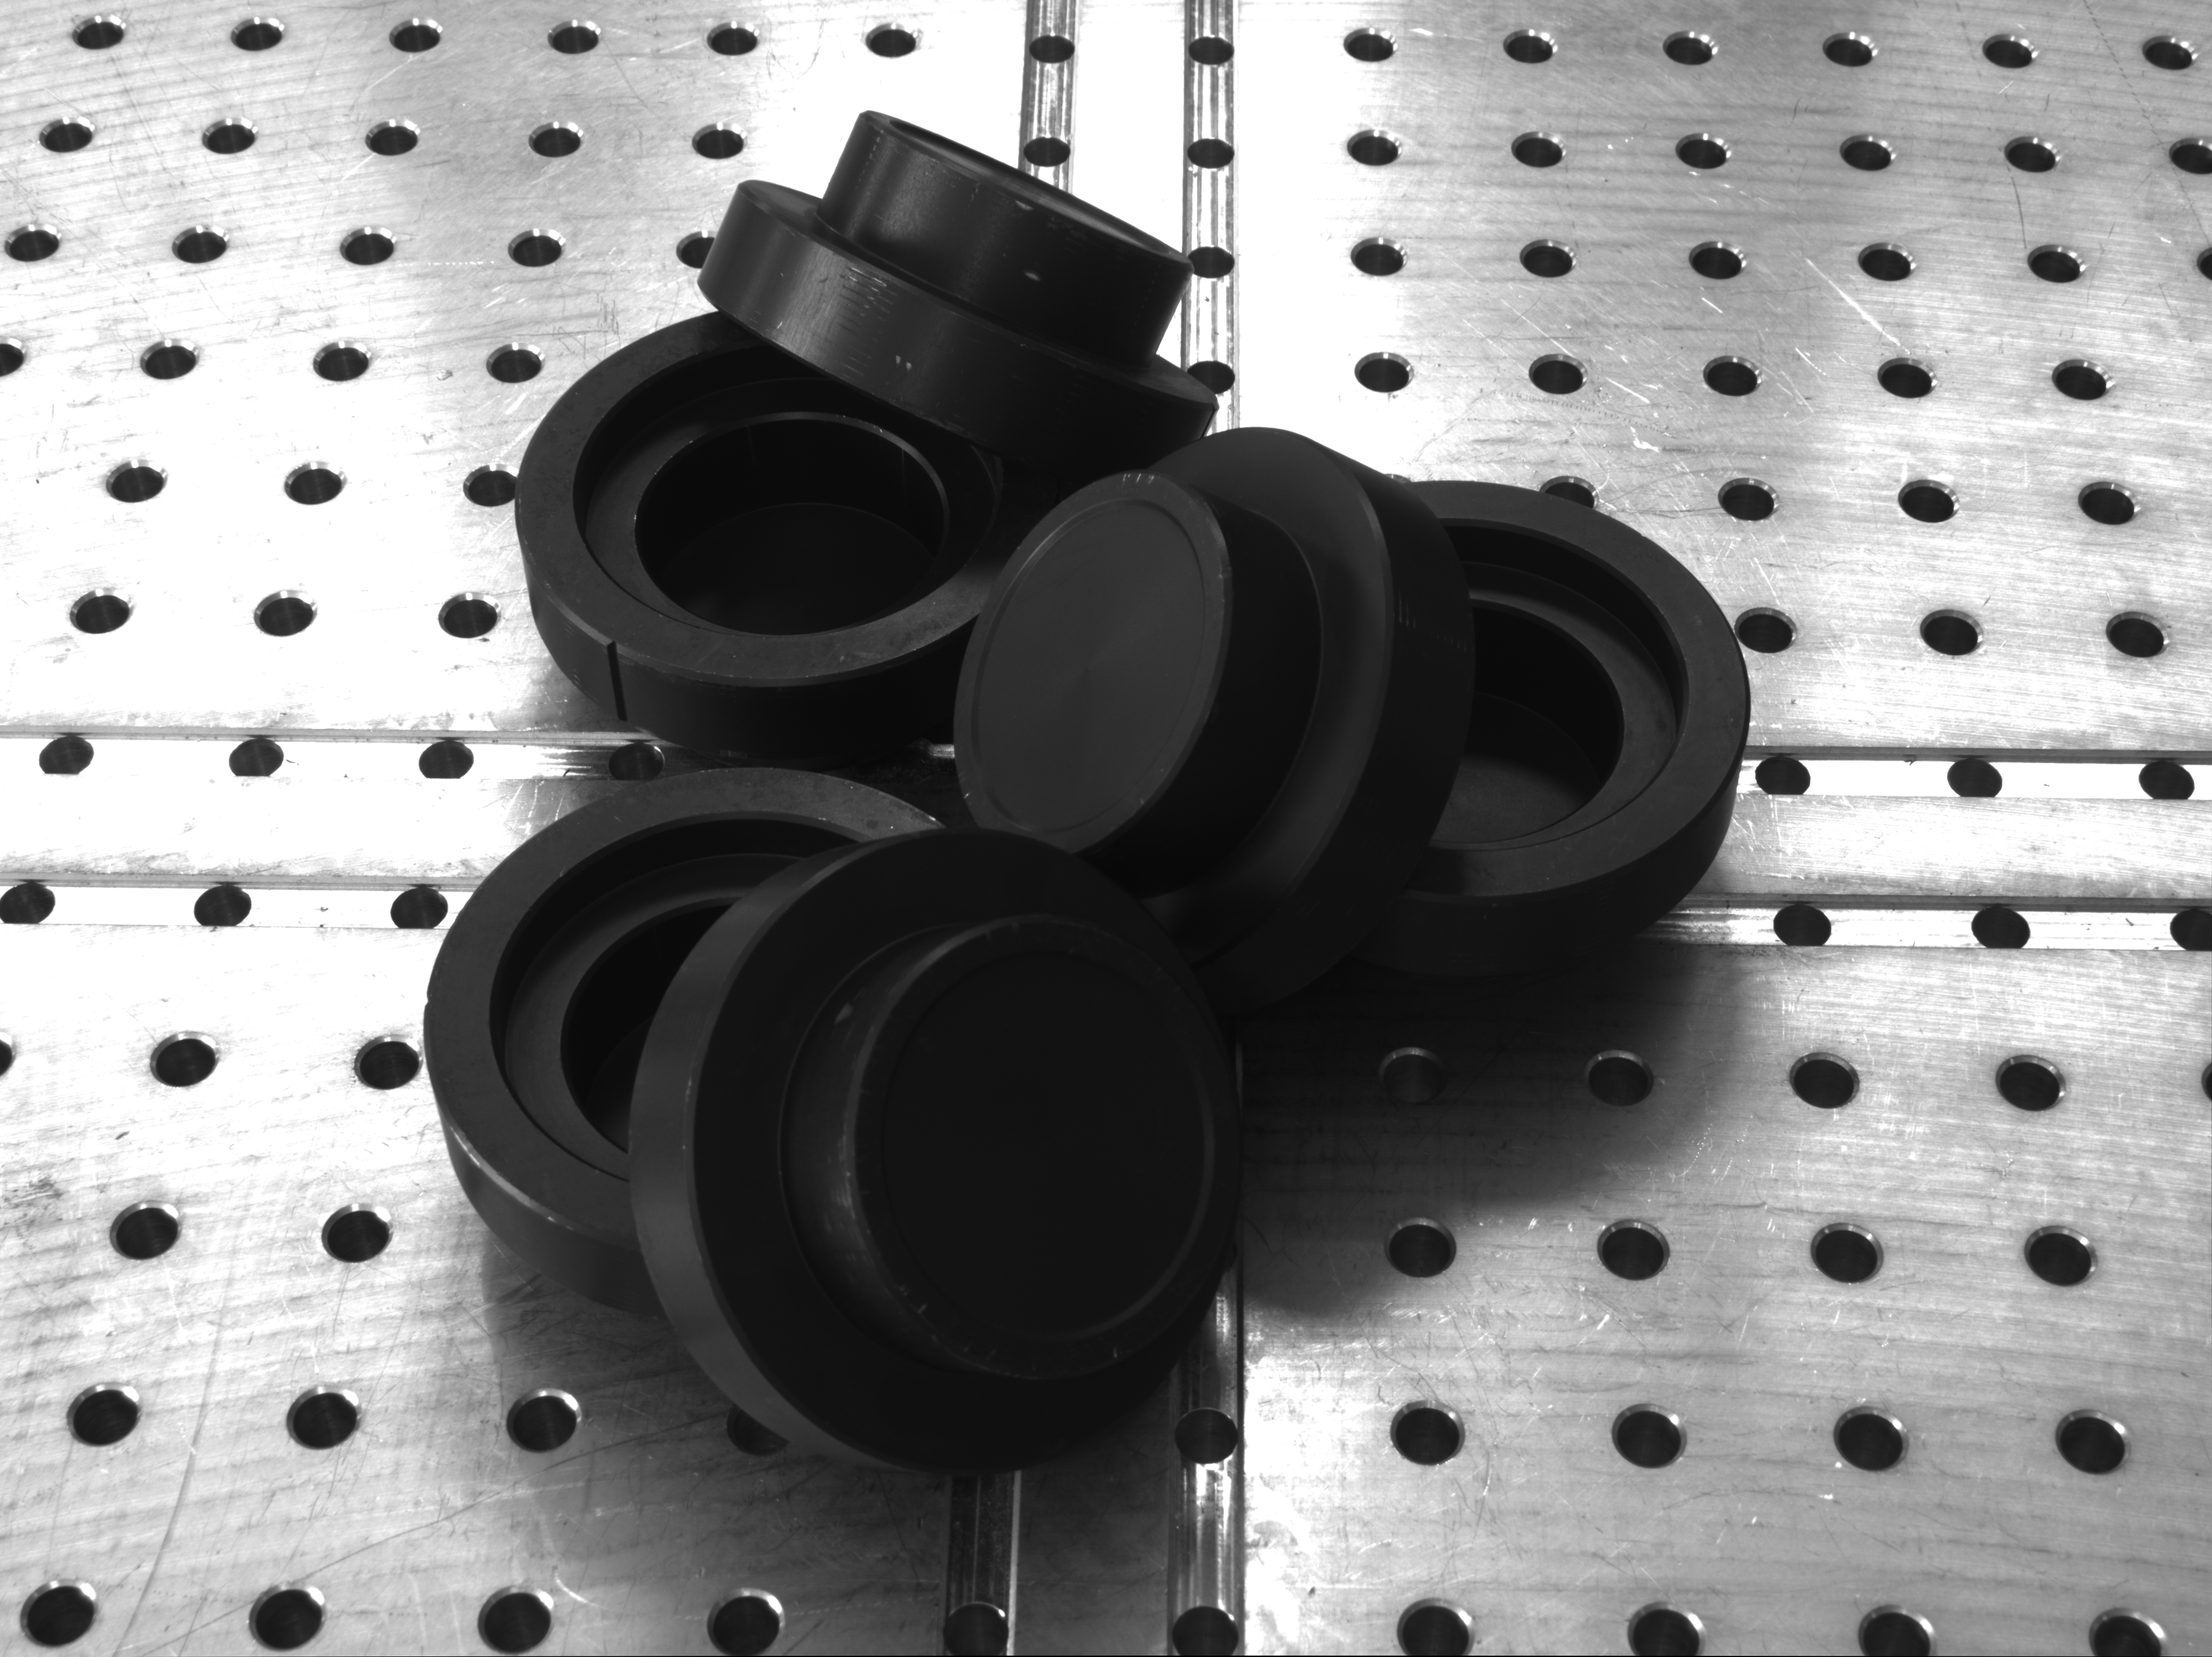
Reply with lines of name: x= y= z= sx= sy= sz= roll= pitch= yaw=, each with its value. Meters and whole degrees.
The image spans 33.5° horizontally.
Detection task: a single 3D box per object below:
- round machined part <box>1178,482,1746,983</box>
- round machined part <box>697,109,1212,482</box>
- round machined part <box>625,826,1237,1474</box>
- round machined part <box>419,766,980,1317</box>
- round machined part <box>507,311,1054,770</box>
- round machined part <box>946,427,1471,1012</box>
round machined part: x=0.061 y=-0.012 z=0.644 sx=0.098 sy=0.042 sz=0.098 roll=0 pitch=50 yaw=0
round machined part: x=-0.023 y=-0.100 z=0.683 sx=0.098 sy=0.042 sz=0.098 roll=25 pitch=11 yaw=-5
round machined part: x=-0.020 y=0.048 z=0.556 sx=0.098 sy=0.042 sz=0.098 roll=5 pitch=81 yaw=-33
round machined part: x=-0.060 y=0.040 z=0.600 sx=0.098 sy=0.042 sz=0.098 roll=0 pitch=50 yaw=0
round machined part: x=-0.058 y=-0.049 z=0.675 sx=0.098 sy=0.042 sz=0.098 roll=0 pitch=50 yaw=0
round machined part: x=0.011 y=-0.022 z=0.613 sx=0.042 sy=0.098 sz=0.098 roll=22 pitch=37 yaw=-38
